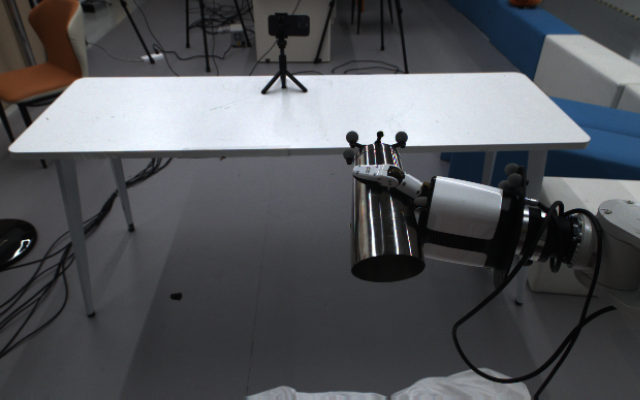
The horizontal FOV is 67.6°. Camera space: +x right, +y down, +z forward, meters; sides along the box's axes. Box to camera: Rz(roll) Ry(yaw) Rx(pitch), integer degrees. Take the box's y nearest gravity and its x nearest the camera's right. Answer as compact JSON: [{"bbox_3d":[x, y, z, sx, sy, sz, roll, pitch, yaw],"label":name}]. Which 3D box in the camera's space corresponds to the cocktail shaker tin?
[{"bbox_3d":[0.081,0.011,0.635,0.093,0.093,0.170,0,59,-3],"label":"cocktail shaker tin"}]
